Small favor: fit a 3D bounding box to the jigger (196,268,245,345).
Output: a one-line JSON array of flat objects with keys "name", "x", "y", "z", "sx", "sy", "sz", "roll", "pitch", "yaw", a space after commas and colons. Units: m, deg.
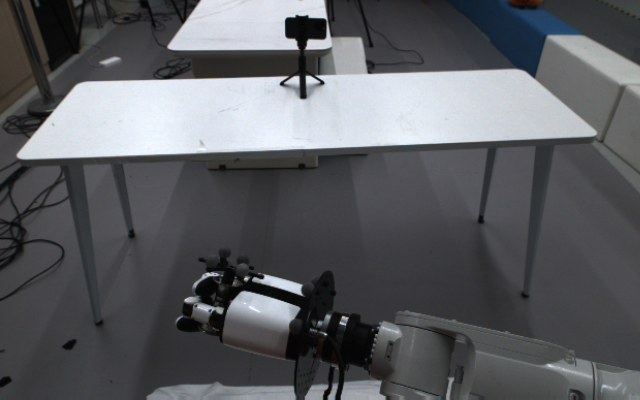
[{"name": "jigger", "x": -0.129, "y": 0.138, "z": 0.635, "sx": 0.043, "sy": 0.071, "sz": 0.043, "roll": 17, "pitch": 2, "yaw": -1}]
